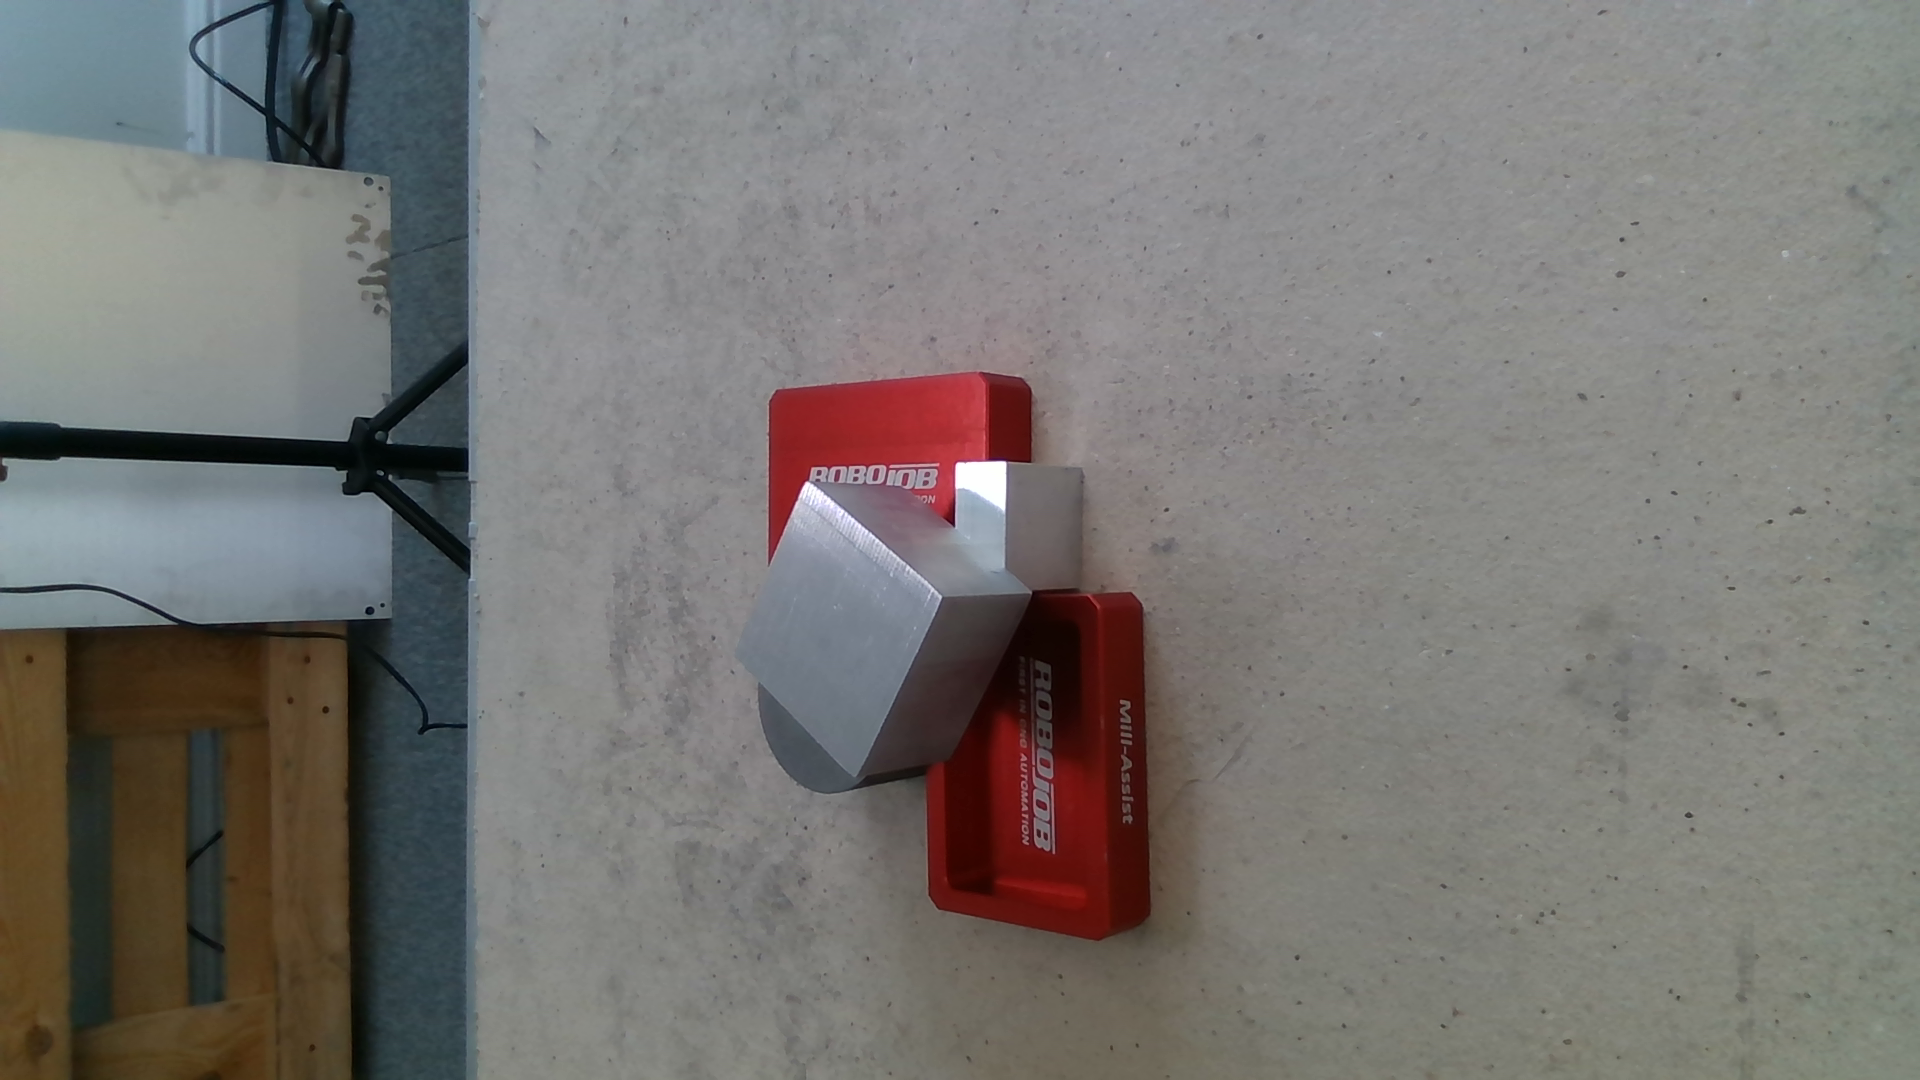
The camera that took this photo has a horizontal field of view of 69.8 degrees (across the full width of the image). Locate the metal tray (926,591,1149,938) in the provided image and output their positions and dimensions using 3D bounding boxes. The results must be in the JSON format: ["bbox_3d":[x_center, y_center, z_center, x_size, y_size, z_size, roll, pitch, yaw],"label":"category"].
[{"bbox_3d":[0.029,0.086,0.556,0.090,0.030,0.130,-2,89,40],"label":"metal tray"}]

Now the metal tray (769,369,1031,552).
[{"bbox_3d":[-0.029,-0.024,0.605,0.130,0.030,0.090,1,91,40],"label":"metal tray"}]

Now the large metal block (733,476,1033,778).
[{"bbox_3d":[-0.031,0.031,0.526,0.080,0.050,0.080,40,115,33],"label":"large metal block"}]

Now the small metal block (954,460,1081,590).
[{"bbox_3d":[0.023,-0.006,0.547,0.025,0.050,0.050,1,91,40],"label":"small metal block"}]

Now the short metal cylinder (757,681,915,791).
[{"bbox_3d":[-0.043,0.067,0.603,0.080,0.050,0.080,0,90,40],"label":"short metal cylinder"}]
